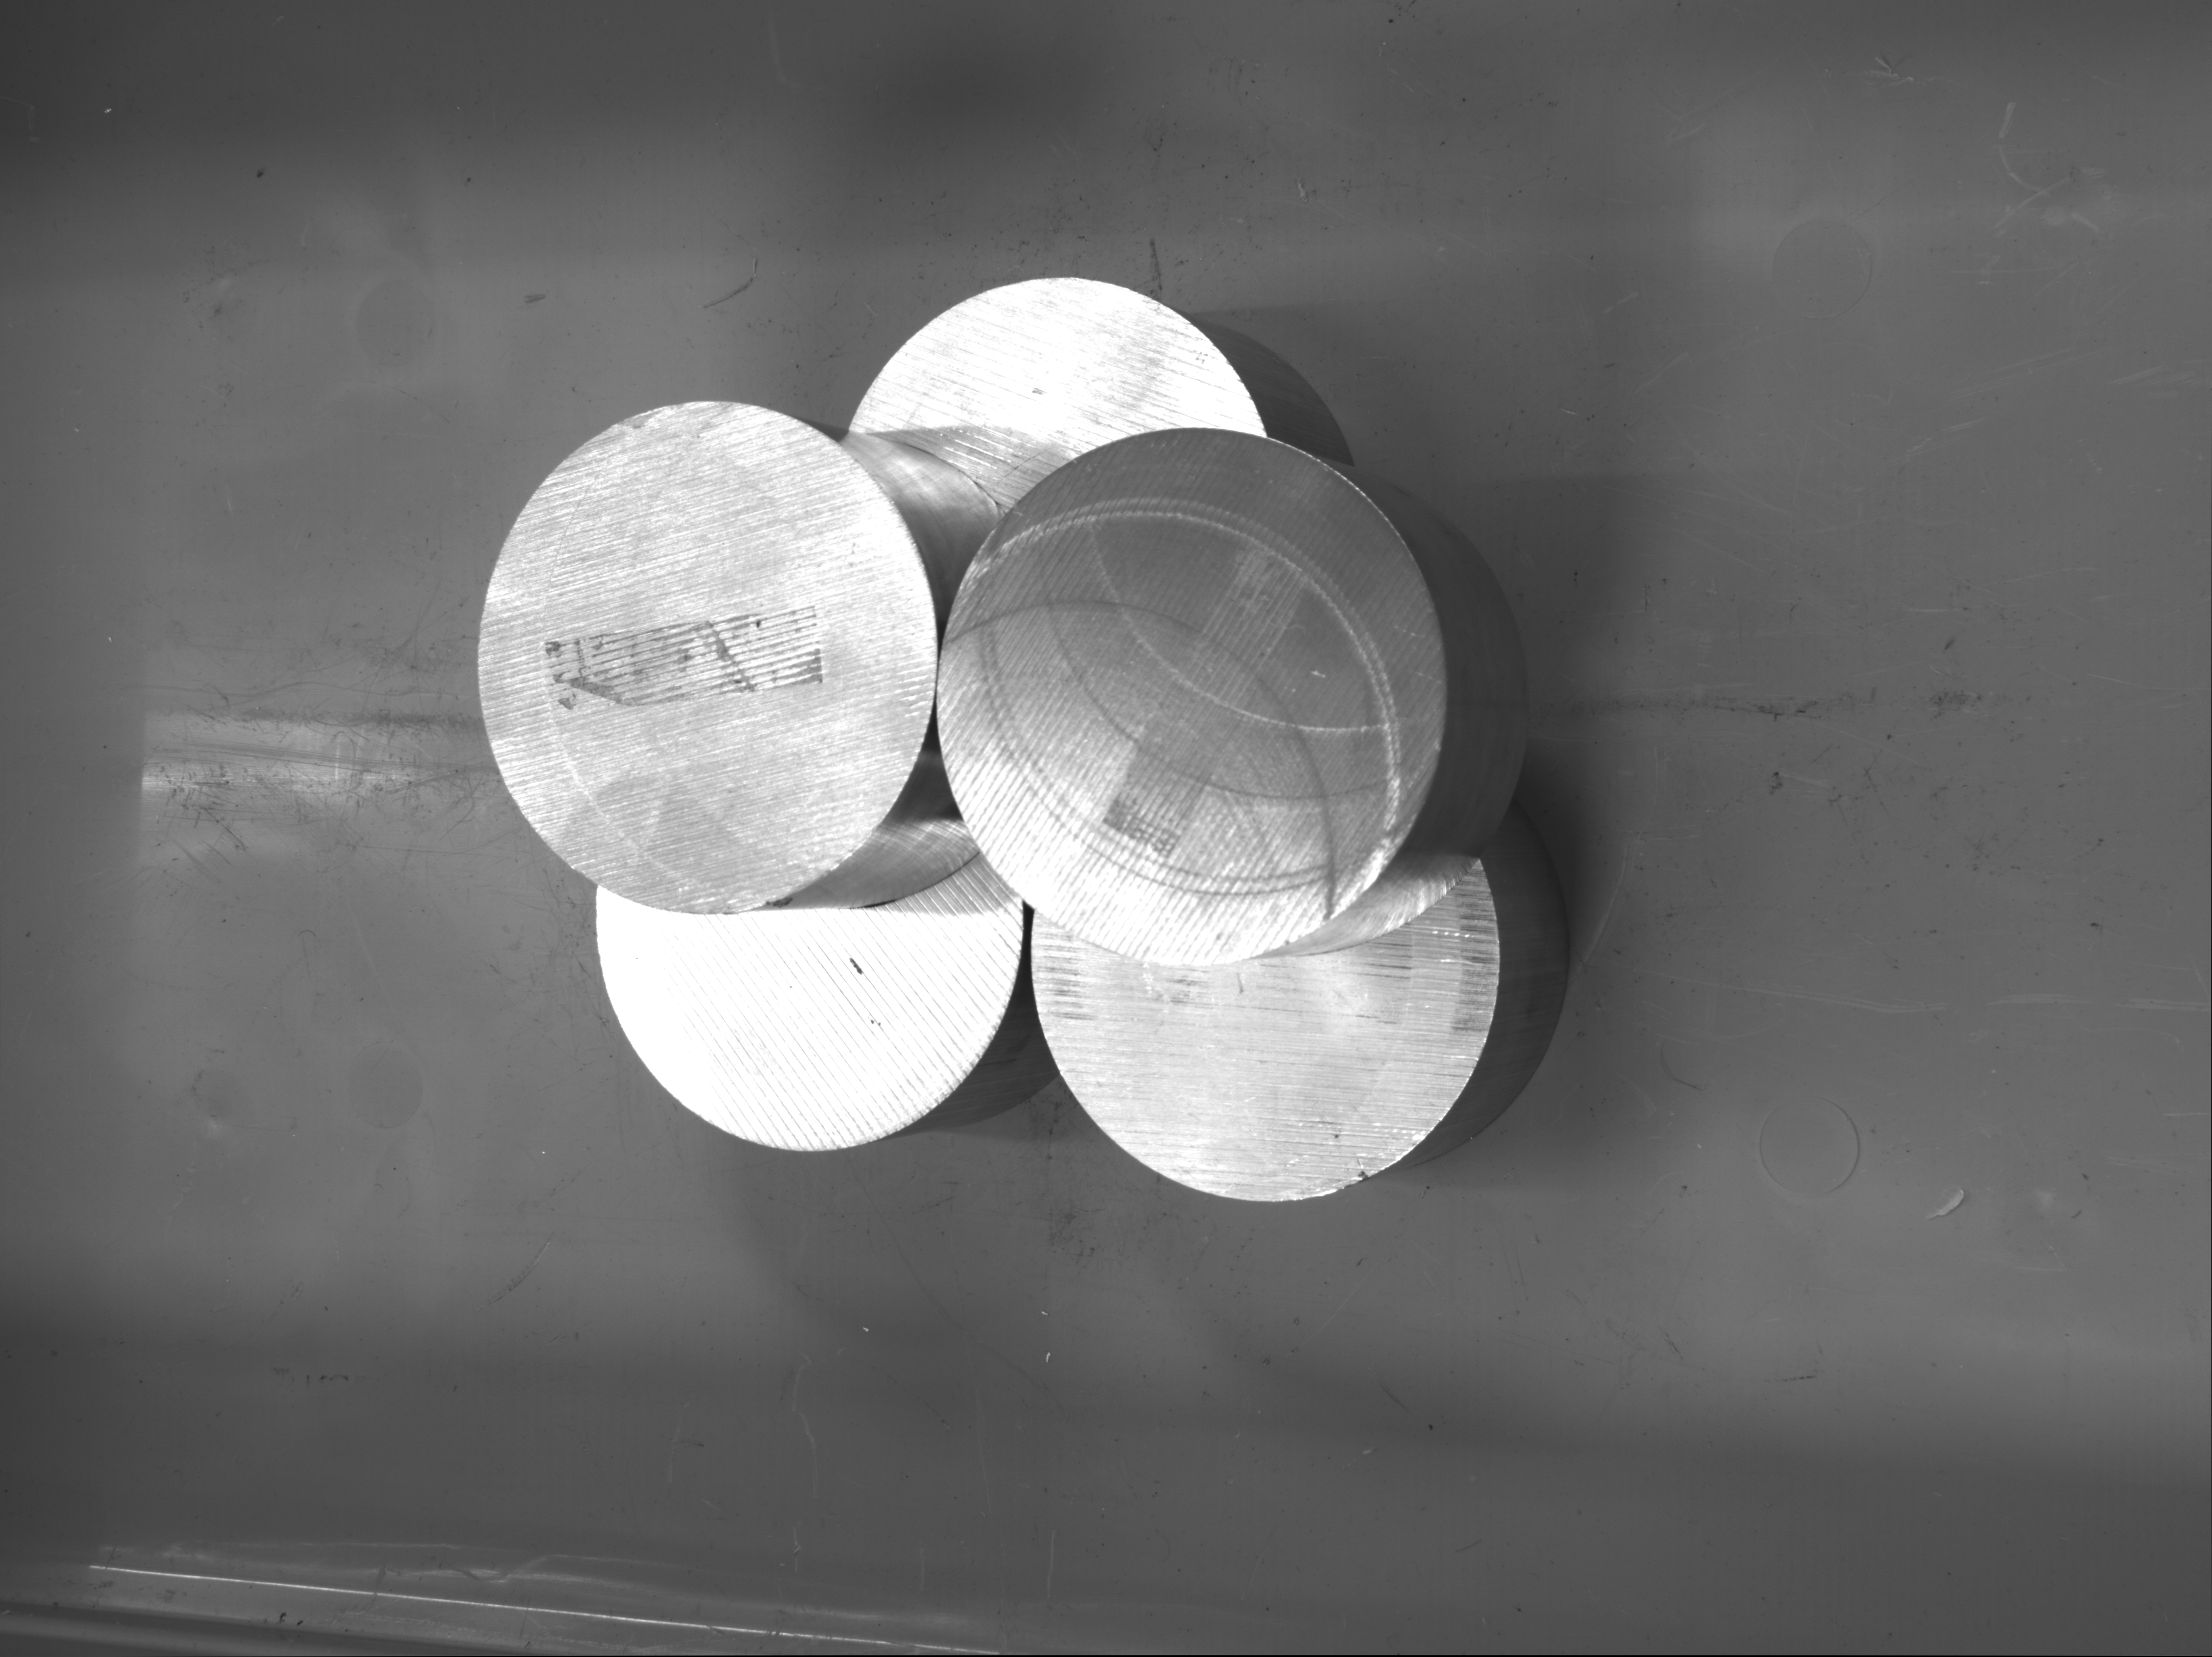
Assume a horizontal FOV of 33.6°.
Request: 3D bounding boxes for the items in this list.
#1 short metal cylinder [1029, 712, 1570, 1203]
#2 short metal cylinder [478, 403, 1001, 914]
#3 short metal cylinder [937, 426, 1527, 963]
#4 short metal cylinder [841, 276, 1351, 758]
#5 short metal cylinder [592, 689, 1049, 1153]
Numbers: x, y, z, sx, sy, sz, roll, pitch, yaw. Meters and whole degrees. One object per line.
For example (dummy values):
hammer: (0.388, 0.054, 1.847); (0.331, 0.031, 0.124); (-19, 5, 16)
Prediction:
short metal cylinder: (0.033, 0.021, 0.619); (0.080, 0.050, 0.080); (0, 90, 20)
short metal cylinder: (-0.055, -0.027, 0.598); (0.080, 0.050, 0.080); (0, 90, 20)
short metal cylinder: (0.020, -0.020, 0.570); (0.080, 0.050, 0.080); (0, 90, 20)
short metal cylinder: (-0.001, -0.052, 0.632); (0.080, 0.050, 0.080); (0, 90, 20)
short metal cylinder: (-0.043, 0.015, 0.647); (0.080, 0.050, 0.080); (0, 90, 20)
